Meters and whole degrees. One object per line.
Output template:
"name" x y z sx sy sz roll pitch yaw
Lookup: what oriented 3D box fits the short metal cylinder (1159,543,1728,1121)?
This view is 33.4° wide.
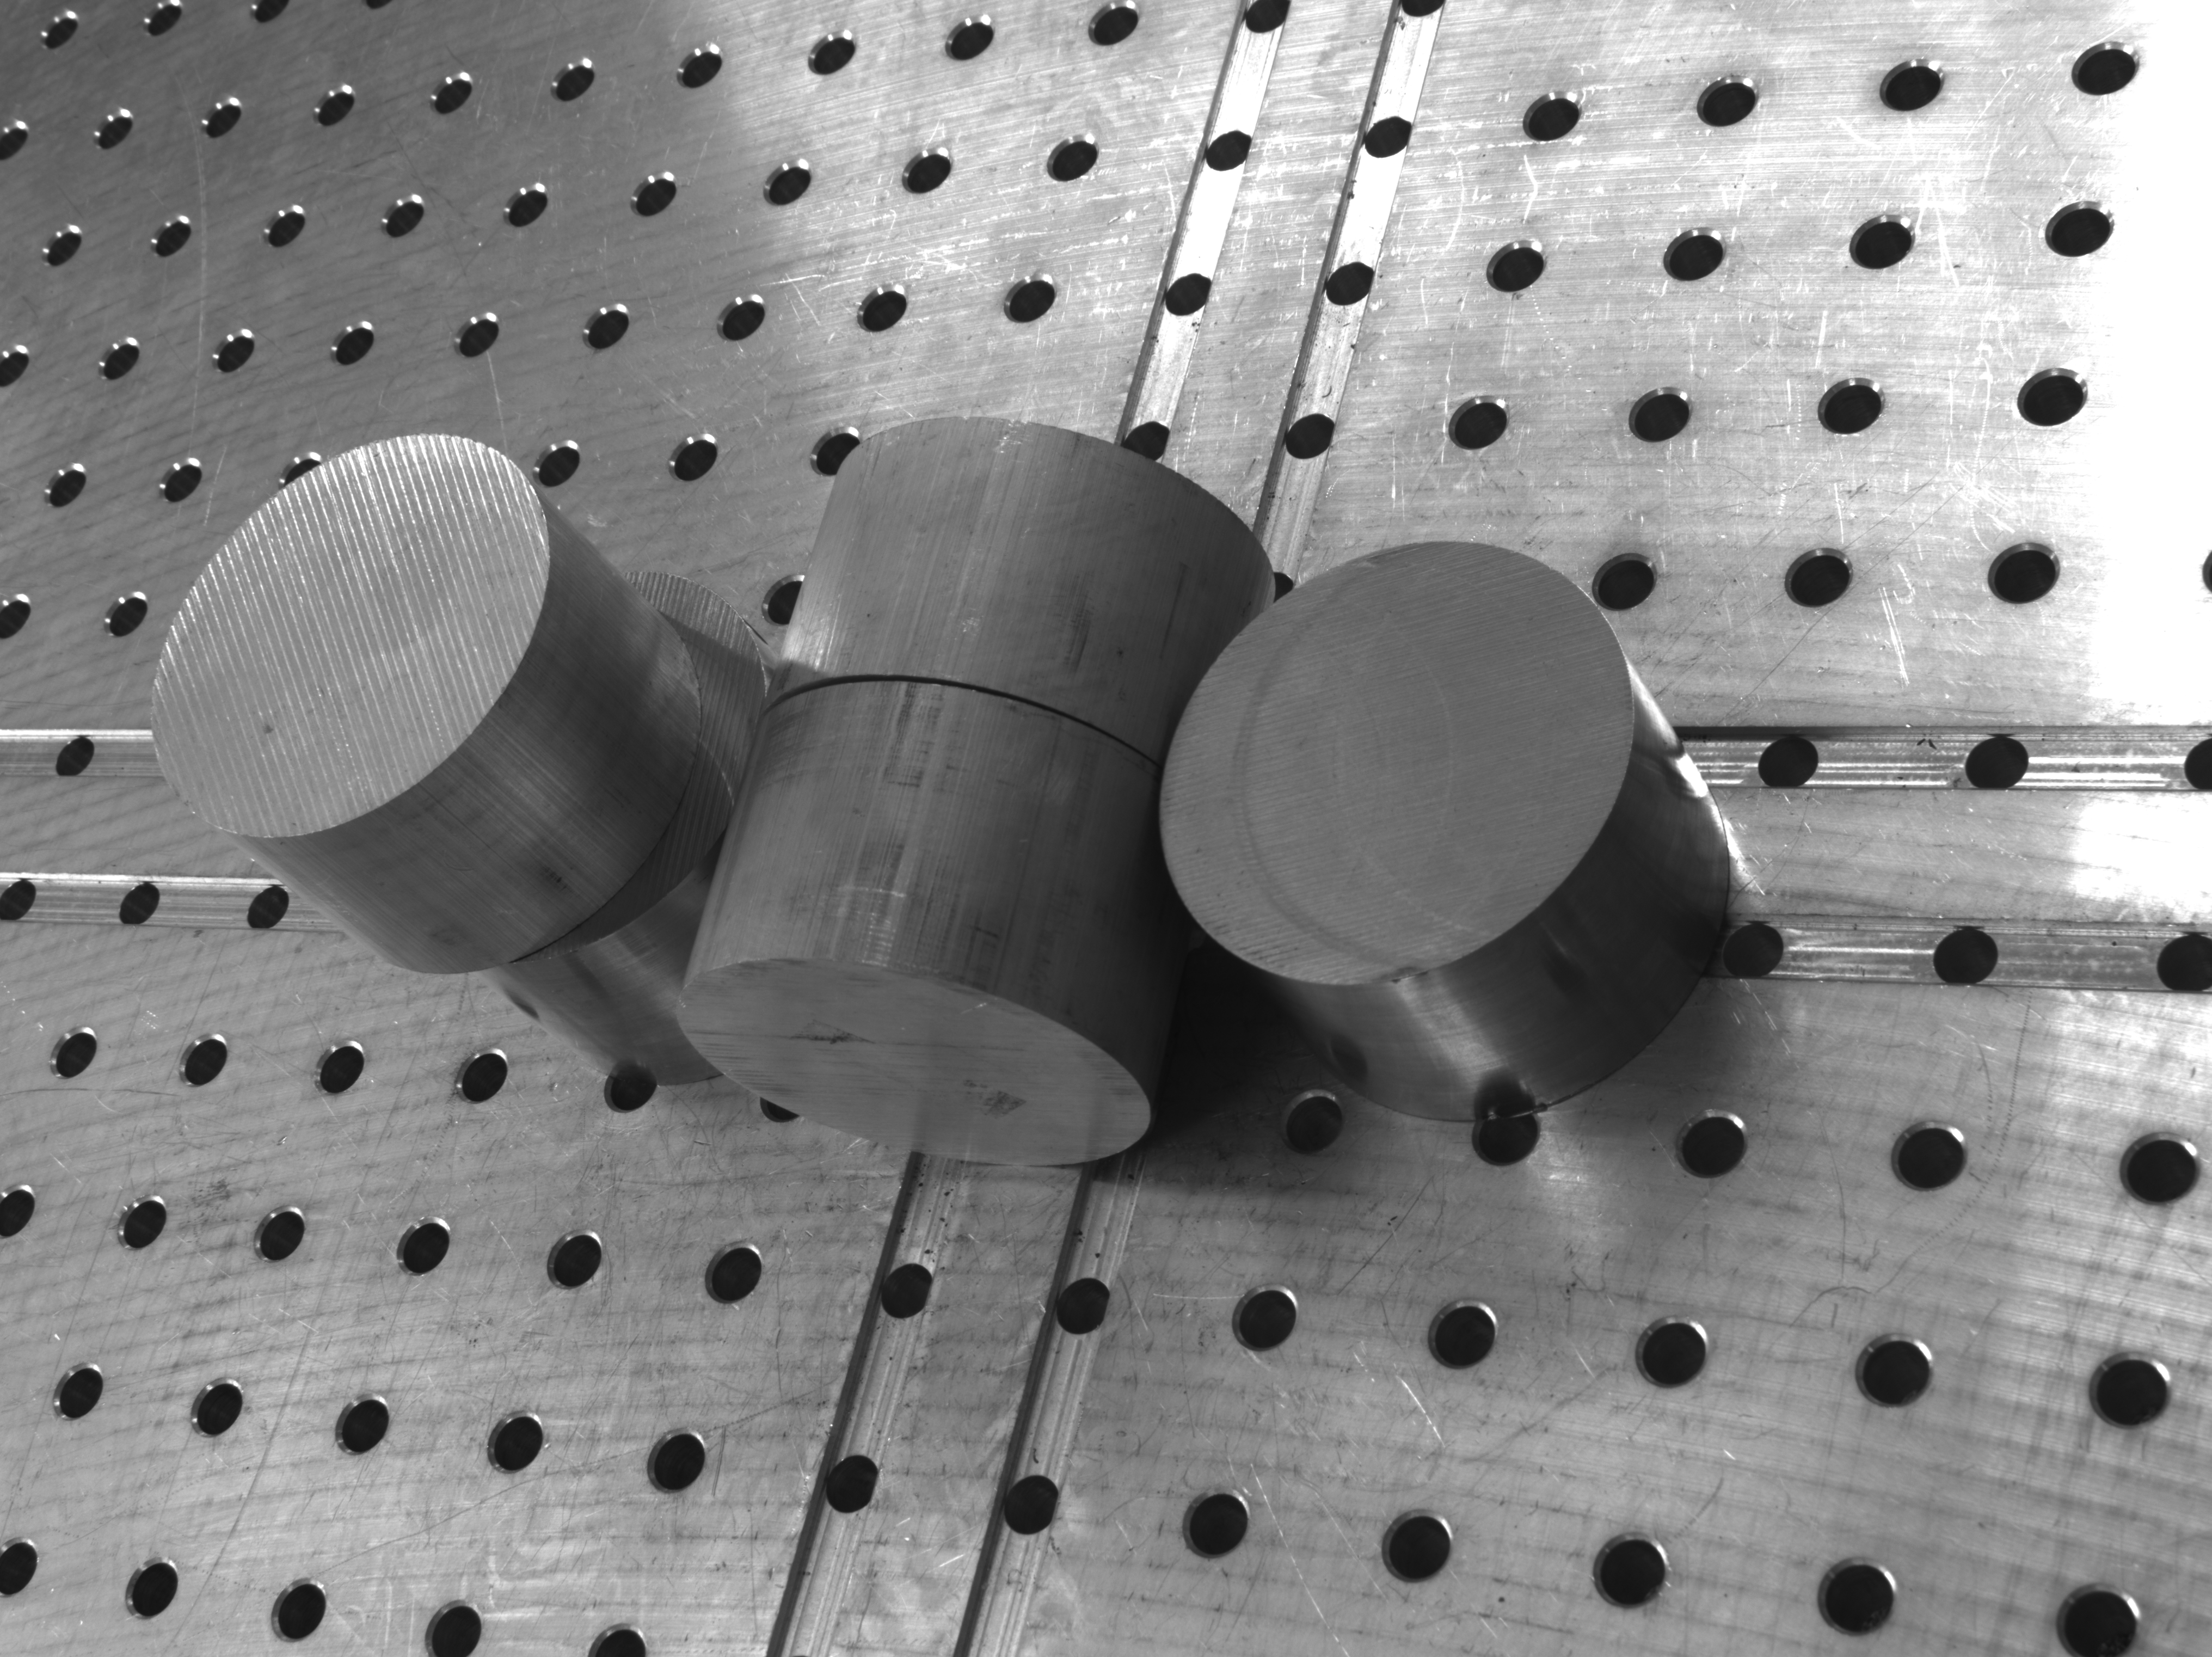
"short metal cylinder" 0.055 0.001 0.601 0.080 0.050 0.080 -13 56 21

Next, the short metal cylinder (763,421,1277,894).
"short metal cylinder" -0.015 -0.027 0.639 0.080 0.080 0.050 1 63 29

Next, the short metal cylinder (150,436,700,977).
"short metal cylinder" -0.118 -0.021 0.643 0.080 0.050 0.080 -14 56 21

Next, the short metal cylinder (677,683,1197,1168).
"short metal cylinder" -0.026 0.018 0.616 0.080 0.080 0.050 -1 61 28

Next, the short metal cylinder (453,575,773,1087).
"short metal cylinder" -0.085 0.001 0.678 0.080 0.050 0.080 -13 56 21
